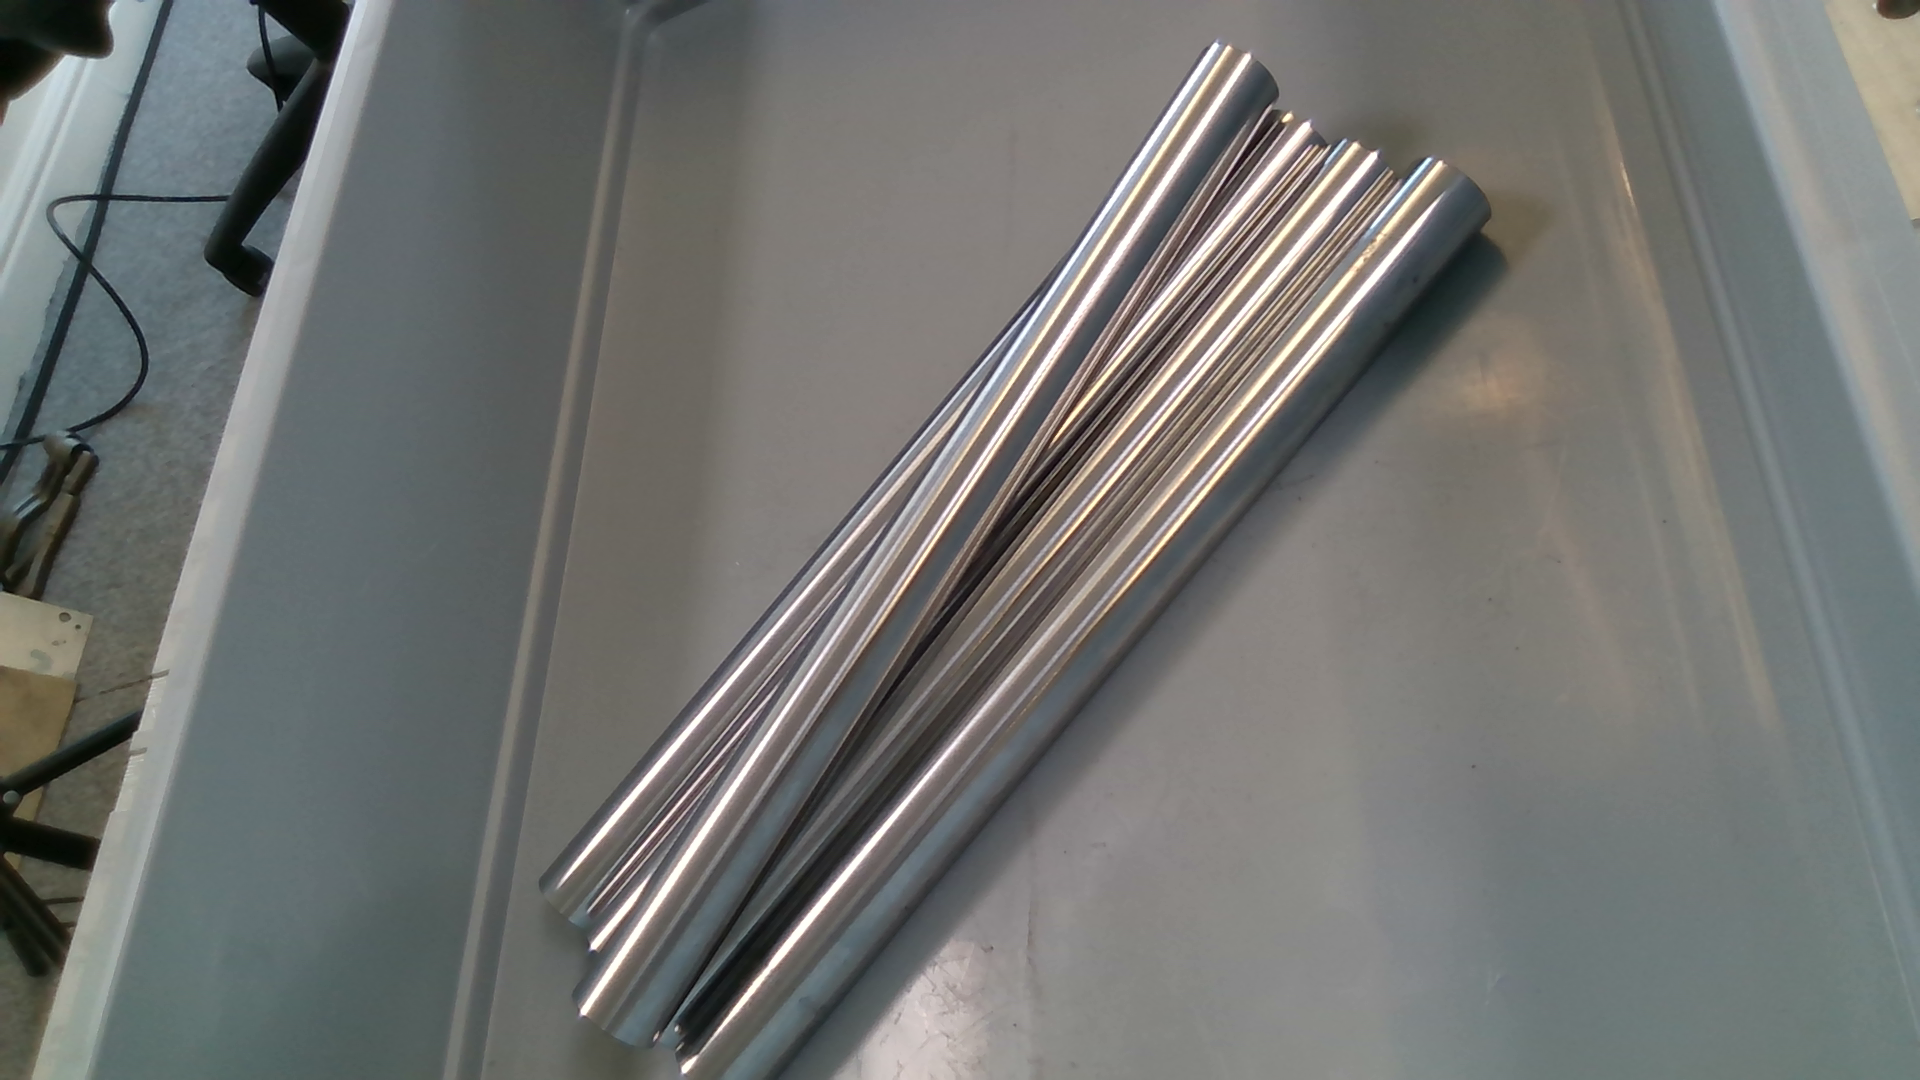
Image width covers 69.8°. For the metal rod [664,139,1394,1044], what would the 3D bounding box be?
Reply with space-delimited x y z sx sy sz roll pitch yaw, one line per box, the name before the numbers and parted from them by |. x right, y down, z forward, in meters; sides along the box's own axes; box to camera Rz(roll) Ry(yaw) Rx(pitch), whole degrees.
metal rod | 0.014 0.014 0.376 0.300 0.025 0.025 -50 51 -1

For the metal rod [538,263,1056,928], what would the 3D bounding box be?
metal rod | -0.018 -0.008 0.407 0.300 0.025 0.025 -50 51 -1

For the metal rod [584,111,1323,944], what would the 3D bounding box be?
metal rod | 0.000 0.001 0.391 0.300 0.025 0.025 -50 51 -1

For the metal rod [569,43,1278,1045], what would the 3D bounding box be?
metal rod | -0.006 -0.004 0.364 0.025 0.025 0.300 29 83 39

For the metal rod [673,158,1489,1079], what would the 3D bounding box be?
metal rod | 0.032 0.024 0.360 0.300 0.025 0.025 -50 51 -1
